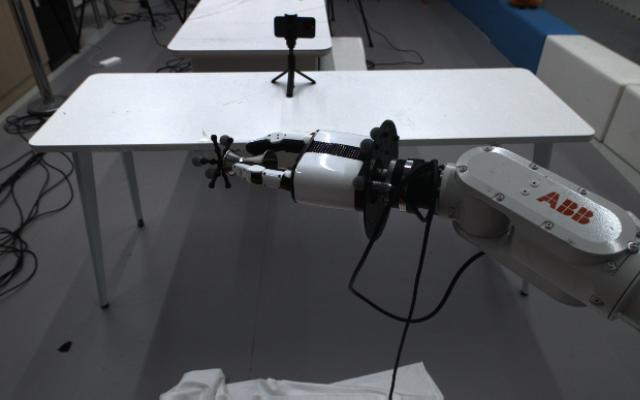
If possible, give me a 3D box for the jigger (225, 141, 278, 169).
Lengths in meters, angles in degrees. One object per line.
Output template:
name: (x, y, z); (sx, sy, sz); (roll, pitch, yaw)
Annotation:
jigger: (-0.093, -0.059, 0.703); (0.071, 0.043, 0.043); (4, 33, 24)
